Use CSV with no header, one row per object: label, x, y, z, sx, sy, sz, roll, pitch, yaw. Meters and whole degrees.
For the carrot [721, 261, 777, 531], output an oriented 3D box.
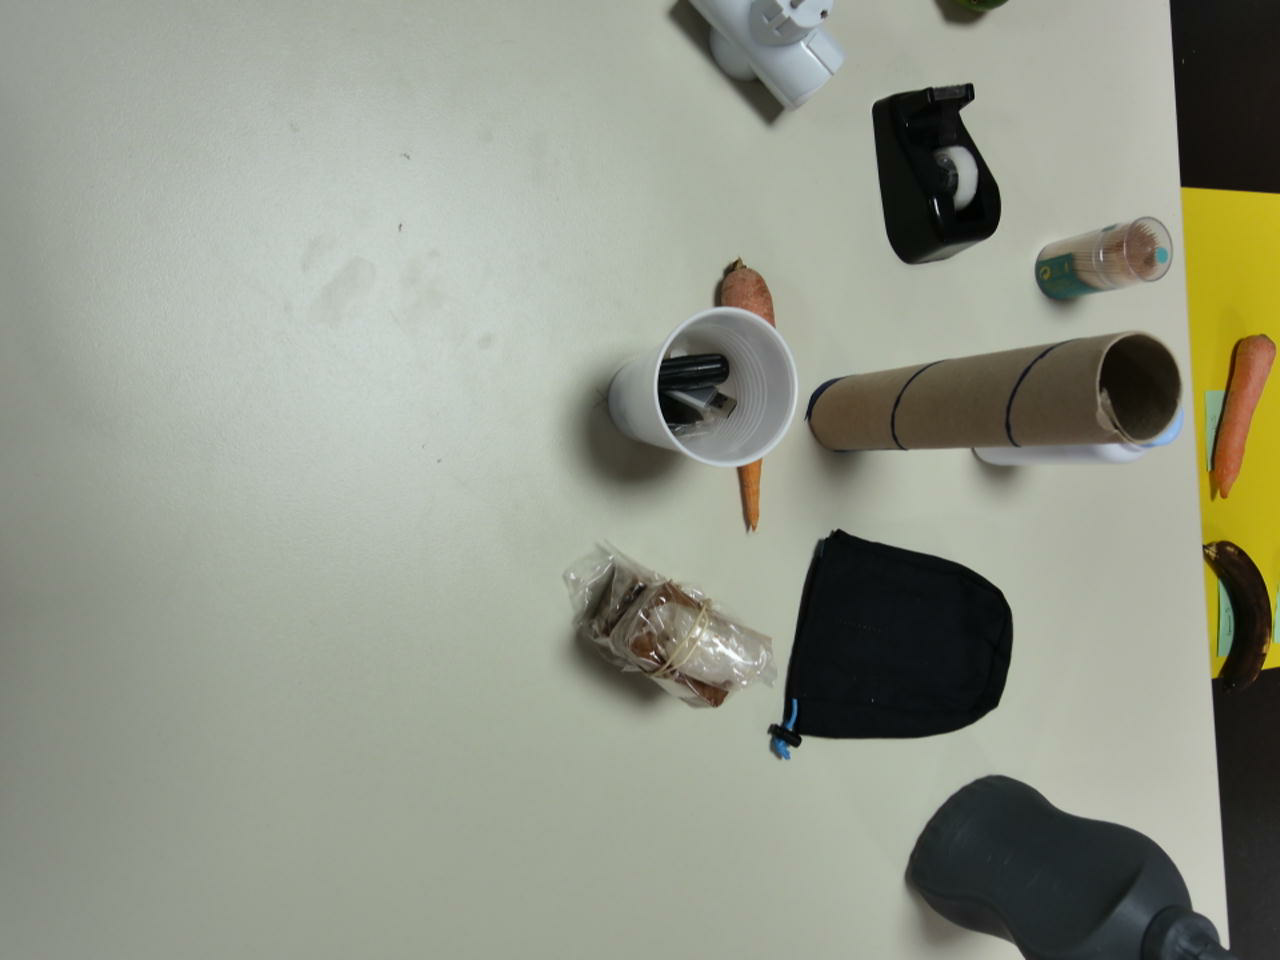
carrot,0.069,-0.050,0.601,0.031,0.029,0.163,-6,93,-22
